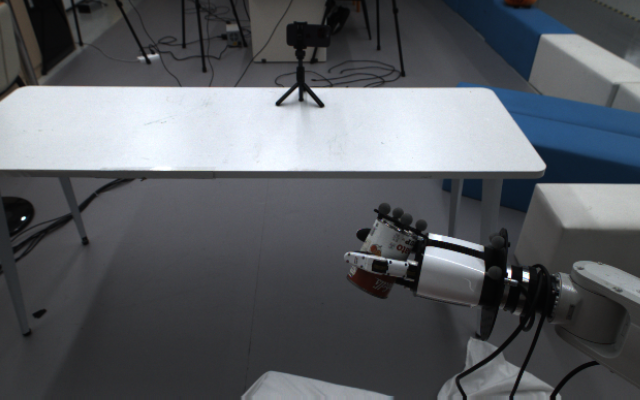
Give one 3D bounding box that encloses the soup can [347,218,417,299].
[{"bbox_3d":[0.092,0.083,0.704,0.067,0.101,0.067,26,6,-3],"label":"soup can"}]
